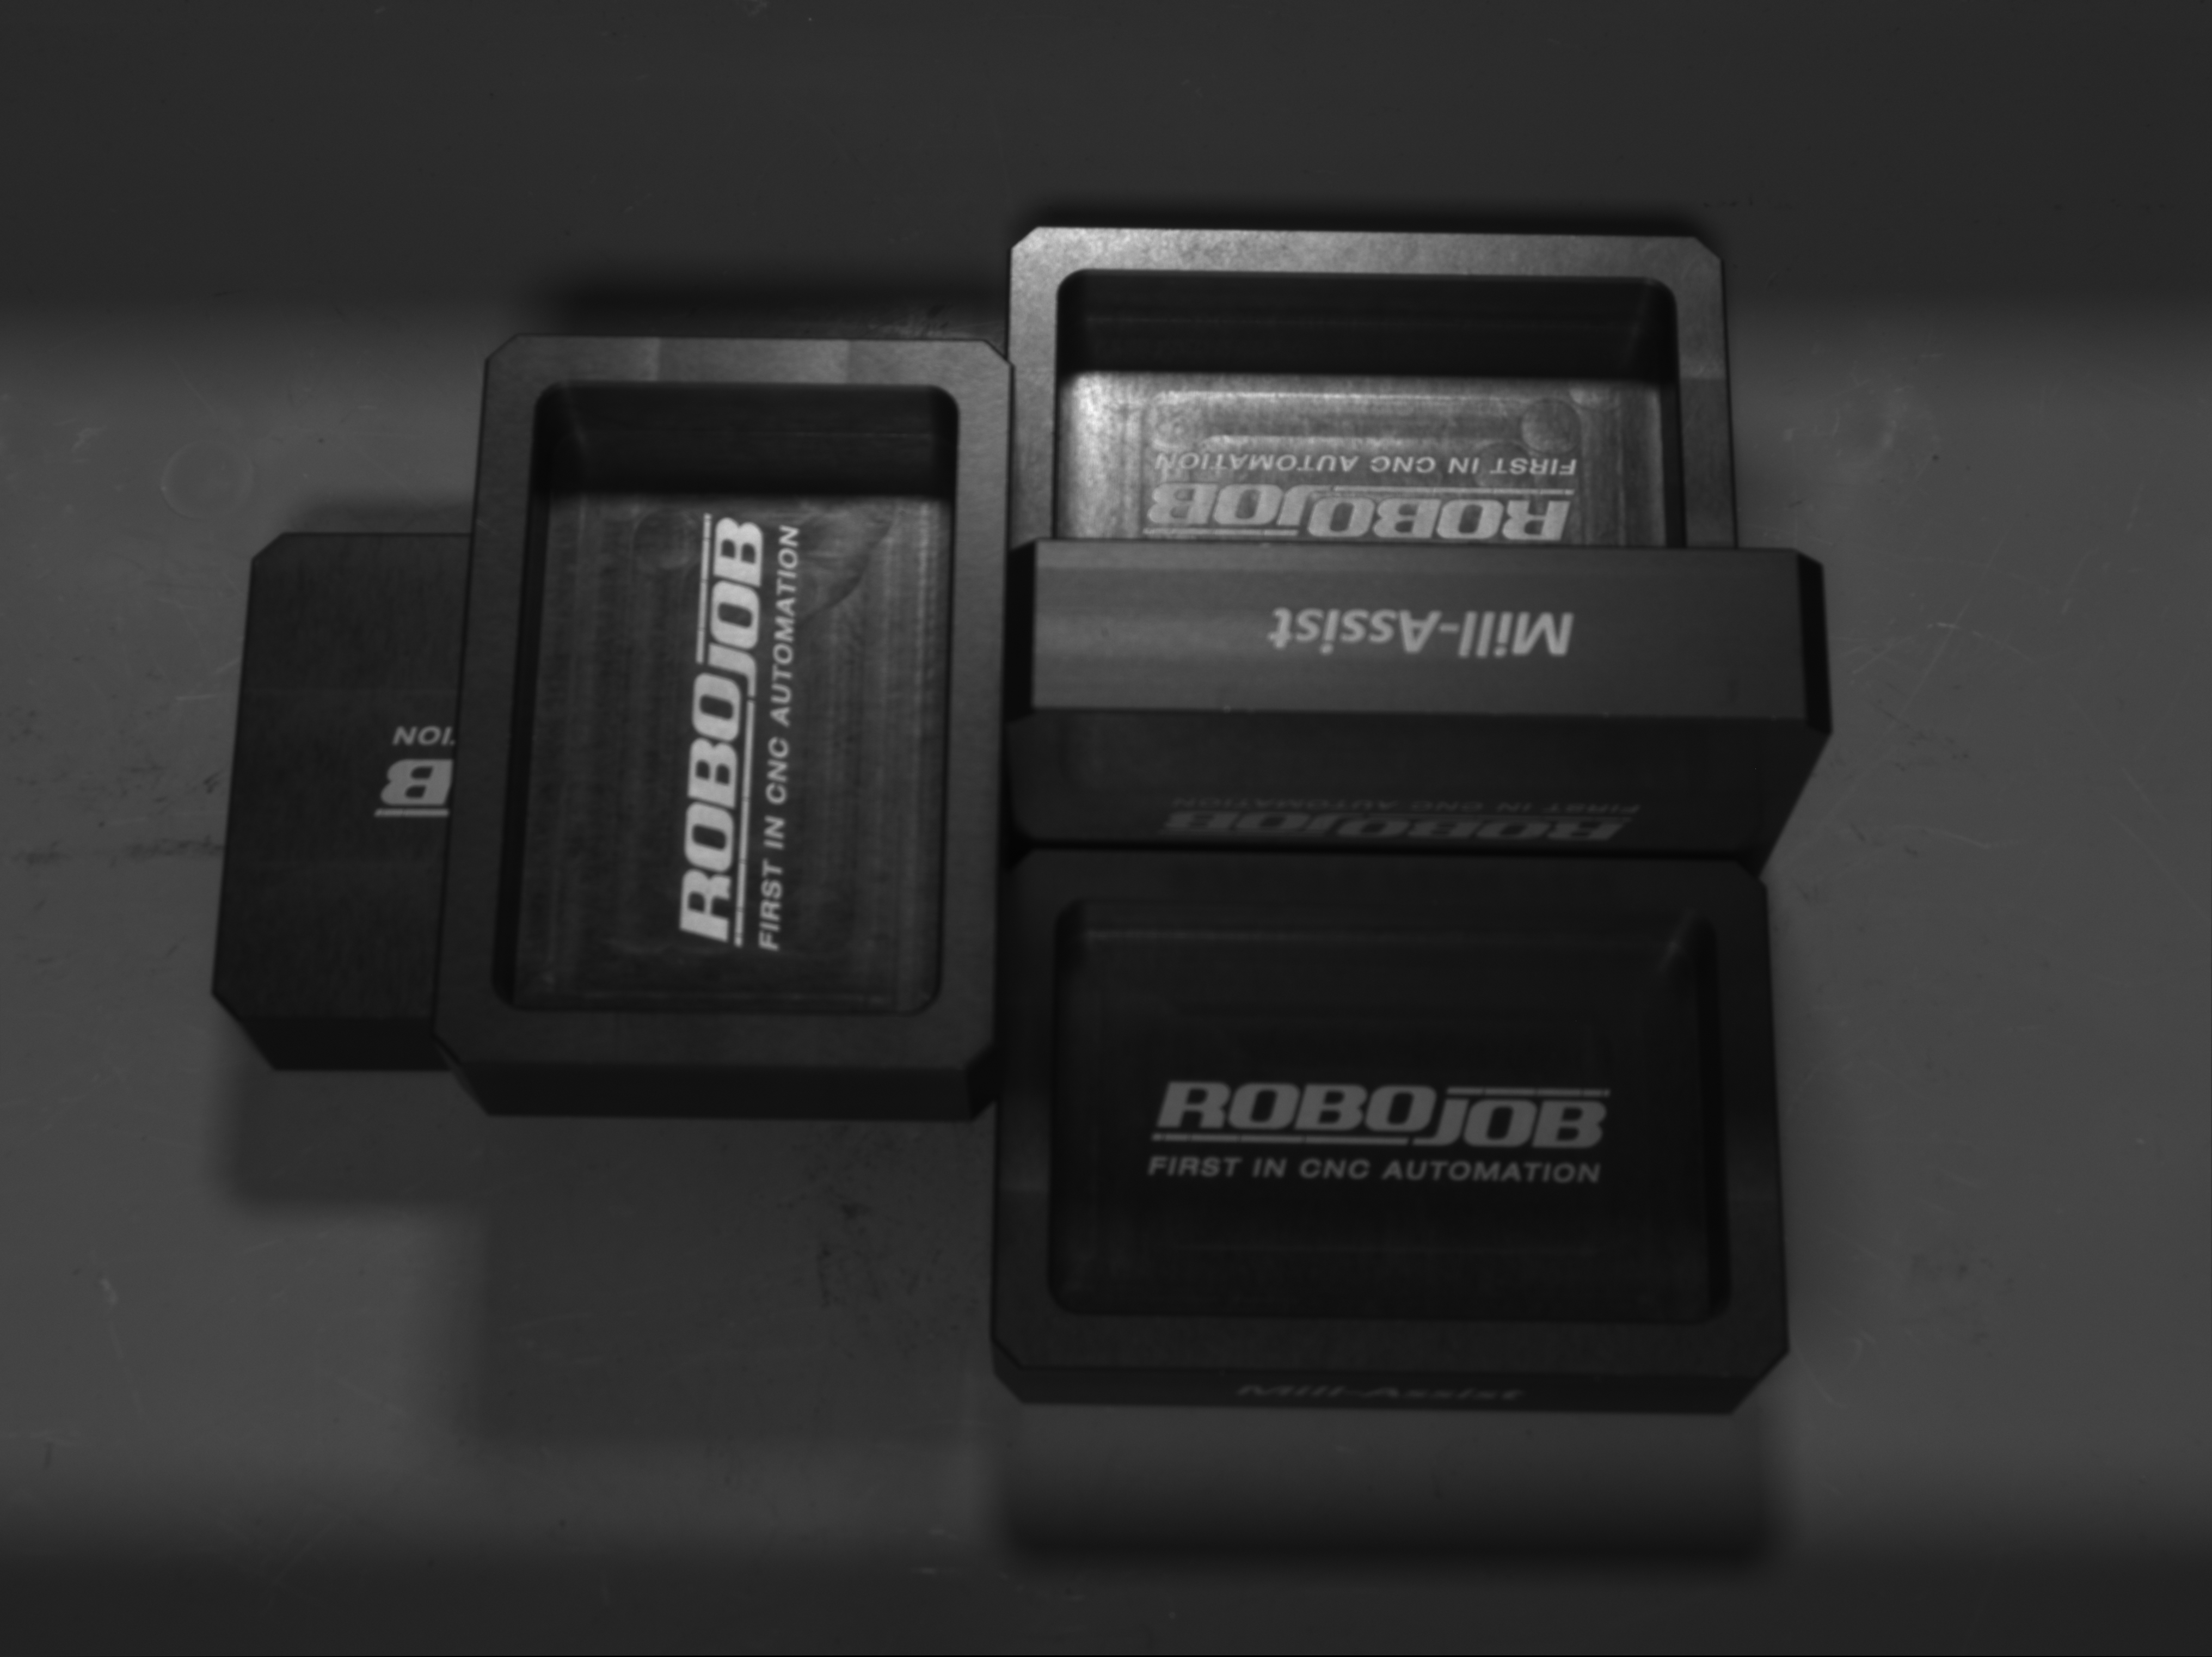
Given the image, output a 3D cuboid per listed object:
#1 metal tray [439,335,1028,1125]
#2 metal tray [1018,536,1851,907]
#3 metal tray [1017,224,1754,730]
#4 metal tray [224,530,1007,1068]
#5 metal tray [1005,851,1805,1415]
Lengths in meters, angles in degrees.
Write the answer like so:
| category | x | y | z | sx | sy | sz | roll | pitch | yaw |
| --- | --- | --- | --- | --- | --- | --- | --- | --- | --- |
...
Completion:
| category | x | y | z | sx | sy | sz | roll | pitch | yaw |
| --- | --- | --- | --- | --- | --- | --- | --- | --- | --- |
| metal tray | -0.059 | -0.018 | 0.614 | 0.090 | 0.030 | 0.130 | 1 | 70 | 0 |
| metal tray | 0.052 | -0.016 | 0.614 | 0.130 | 0.090 | 0.030 | 1 | 70 | 0 |
| metal tray | 0.050 | -0.062 | 0.664 | 0.130 | 0.030 | 0.090 | 1 | 70 | 0 |
| metal tray | -0.083 | -0.005 | 0.641 | 0.130 | 0.030 | 0.090 | 0 | 70 | 0 |
| metal tray | 0.049 | 0.052 | 0.622 | 0.130 | 0.030 | 0.090 | 1 | 70 | 0 |
